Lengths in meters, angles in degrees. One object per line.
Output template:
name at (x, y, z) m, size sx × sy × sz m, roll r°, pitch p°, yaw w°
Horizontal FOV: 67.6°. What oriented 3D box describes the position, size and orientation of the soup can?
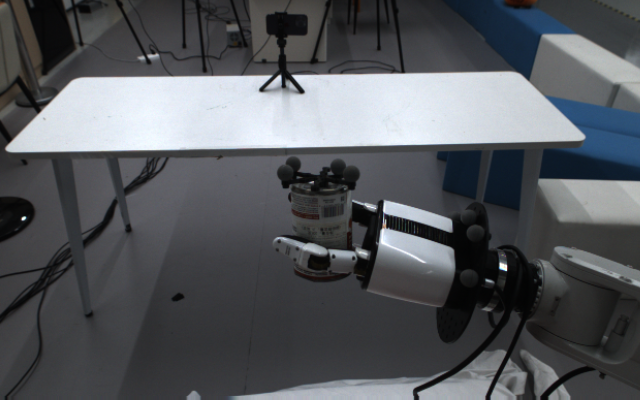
soup can at (0.005, 0.031, 0.532) m, size 0.067 × 0.101 × 0.067 m, roll -1°, pitch 17°, yaw 0°
